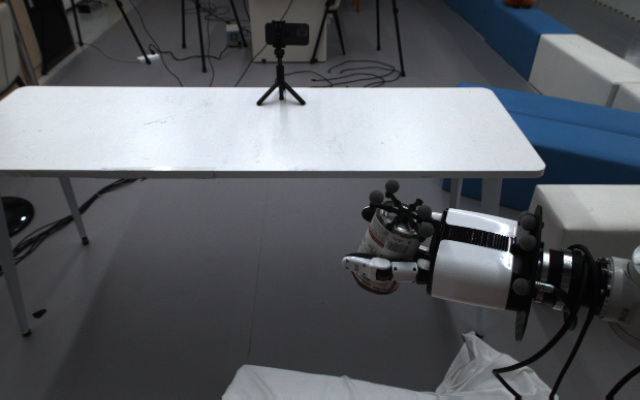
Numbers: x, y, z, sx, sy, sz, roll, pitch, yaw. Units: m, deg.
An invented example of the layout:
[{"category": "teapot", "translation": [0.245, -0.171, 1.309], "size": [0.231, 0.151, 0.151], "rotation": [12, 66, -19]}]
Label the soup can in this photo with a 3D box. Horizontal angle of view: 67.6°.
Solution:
[{"category": "soup can", "translation": [0.087, 0.060, 0.609], "size": [0.067, 0.101, 0.067], "rotation": [13, 35, -9]}]
